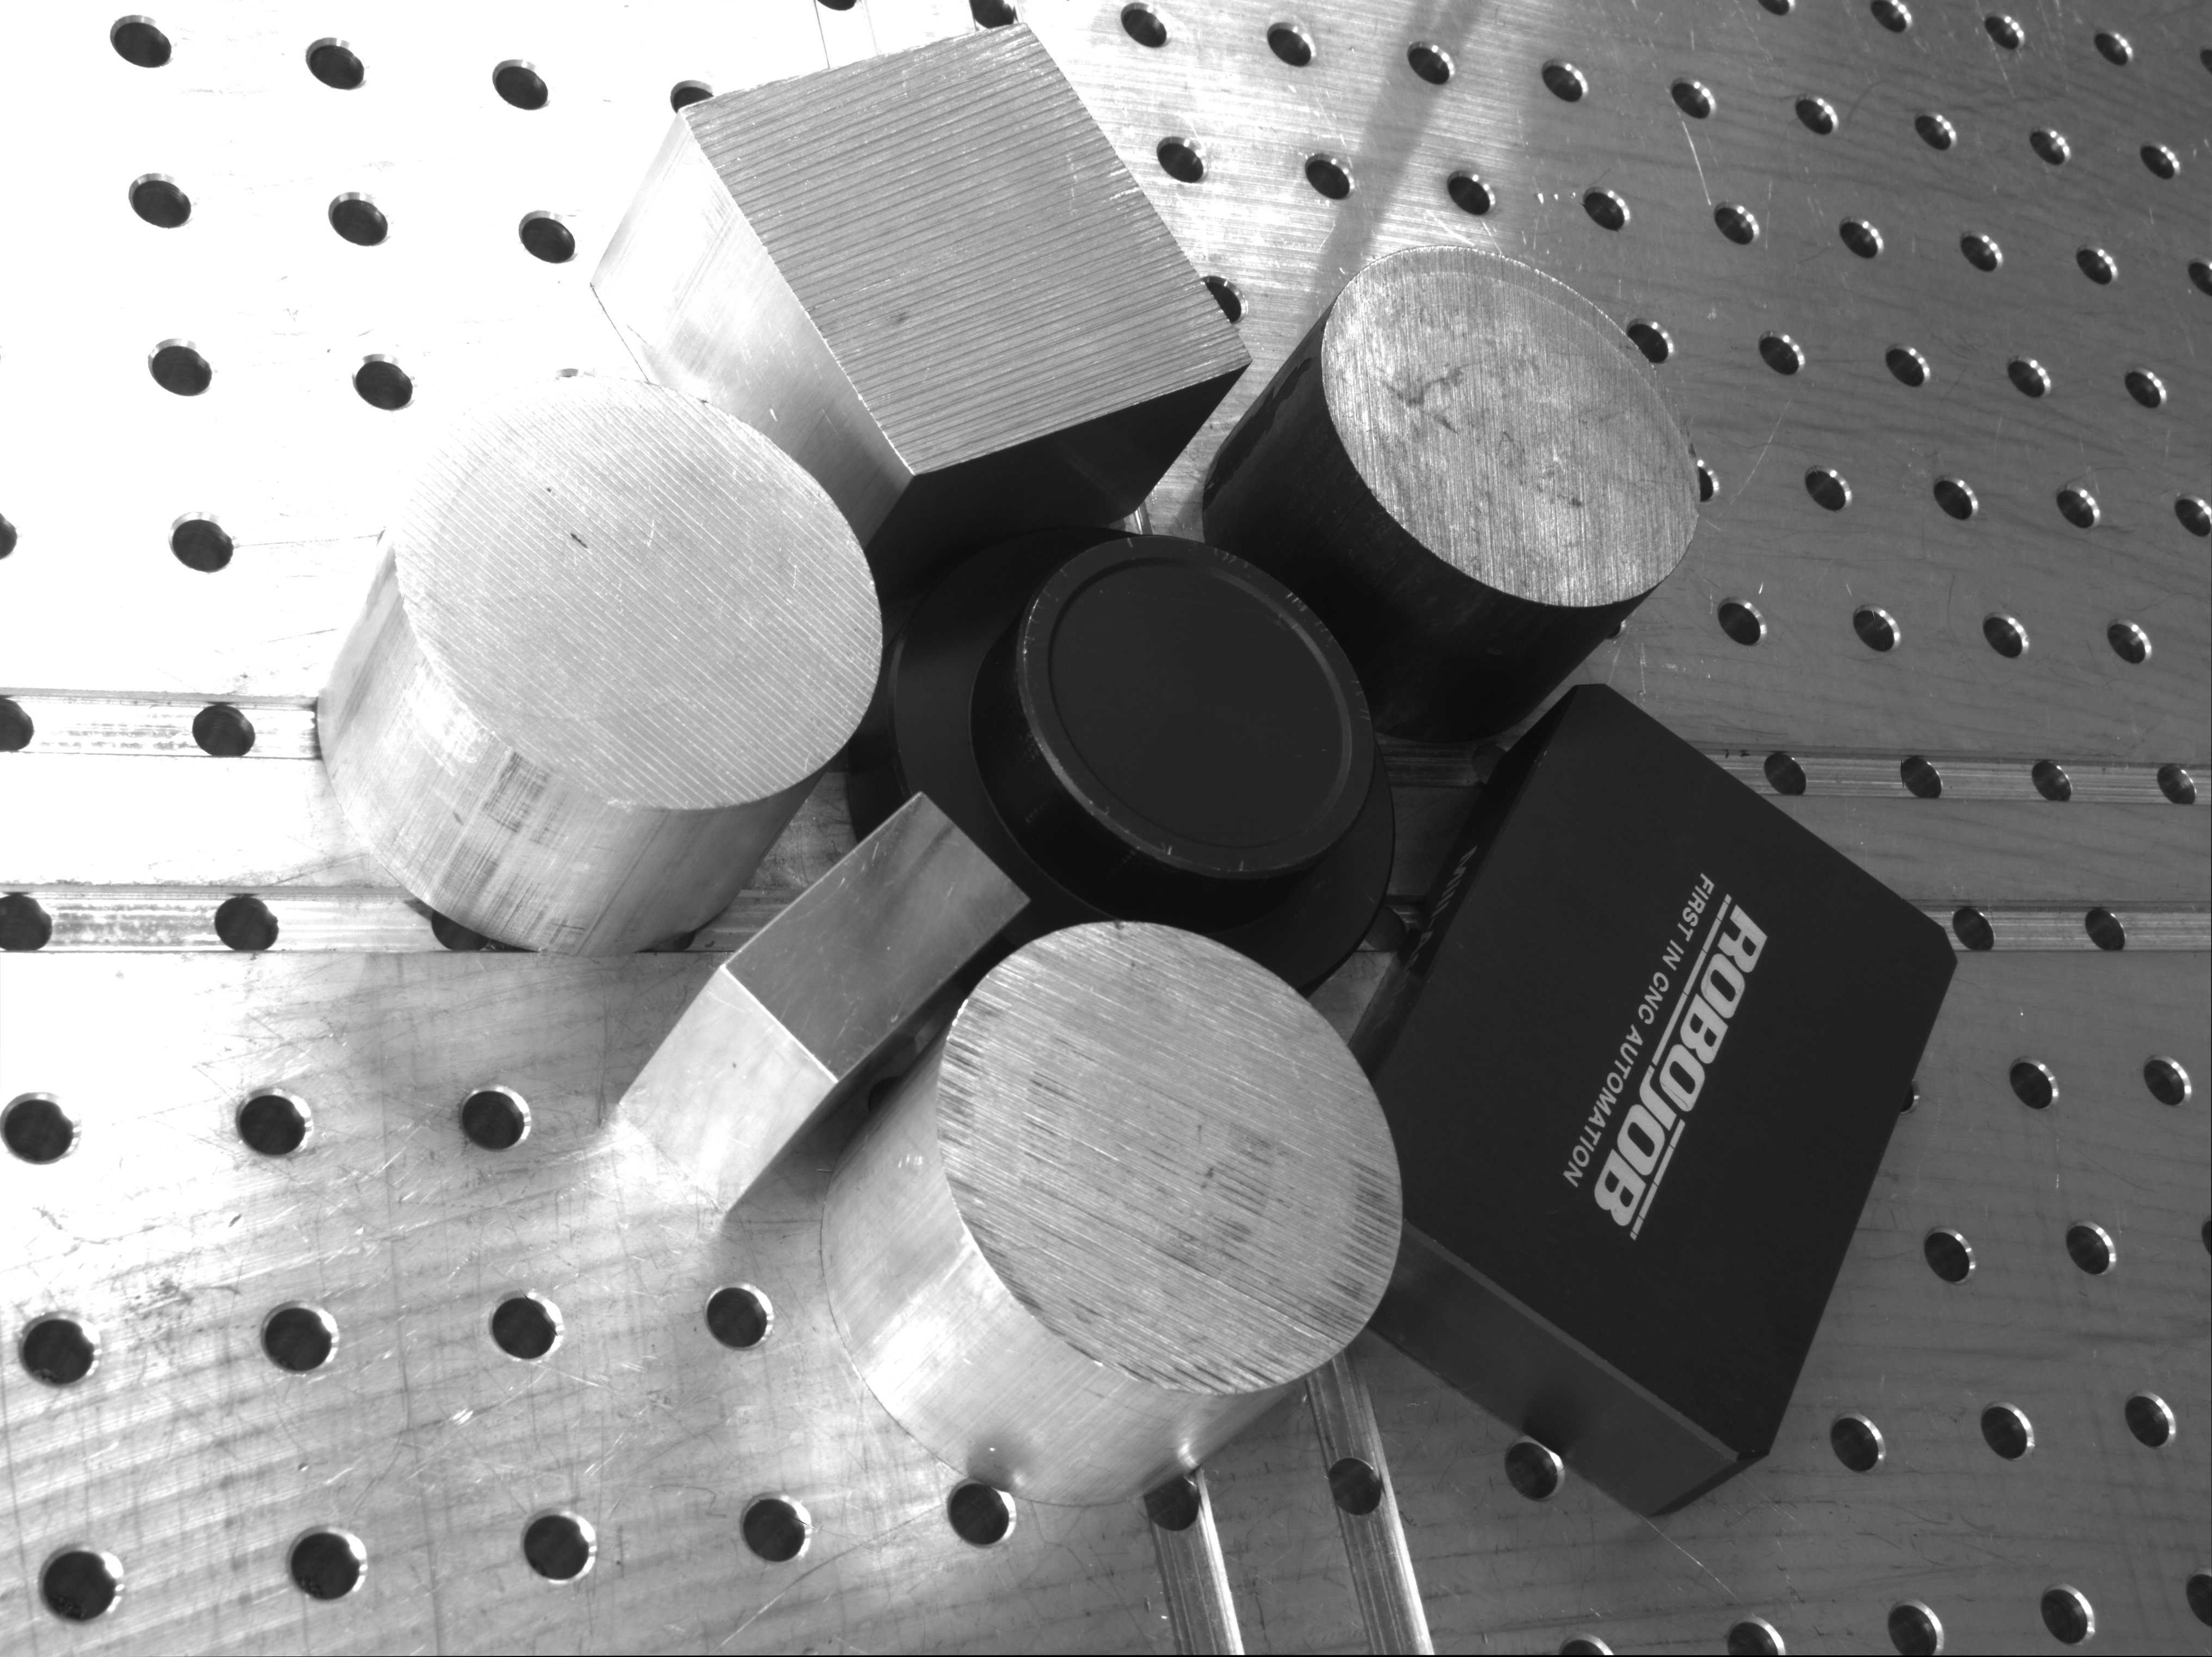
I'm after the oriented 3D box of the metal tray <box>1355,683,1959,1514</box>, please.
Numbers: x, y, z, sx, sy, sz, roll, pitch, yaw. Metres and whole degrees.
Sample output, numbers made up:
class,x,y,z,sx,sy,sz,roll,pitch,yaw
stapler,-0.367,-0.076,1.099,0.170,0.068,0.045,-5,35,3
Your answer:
class,x,y,z,sx,sy,sz,roll,pitch,yaw
metal tray,0.094,0.045,0.660,0.090,0.030,0.130,35,51,-5

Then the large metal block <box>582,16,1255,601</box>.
class,x,y,z,sx,sy,sz,roll,pitch,yaw
large metal block,-0.034,-0.093,0.664,0.080,0.050,0.080,-23,74,-36

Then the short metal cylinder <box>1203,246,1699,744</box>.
class,x,y,z,sx,sy,sz,roll,pitch,yaw
short metal cylinder,0.065,-0.063,0.699,0.080,0.050,0.080,14,56,-21

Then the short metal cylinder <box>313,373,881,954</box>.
class,x,y,z,sx,sy,sz,roll,pitch,yaw
short metal cylinder,-0.083,-0.027,0.596,0.080,0.050,0.080,14,56,-21

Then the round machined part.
class,x,y,z,sx,sy,sz,roll,pitch,yaw
round machined part,0.008,-0.012,0.641,0.098,0.042,0.098,14,56,-21

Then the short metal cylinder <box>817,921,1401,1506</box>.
class,x,y,z,sx,sy,sz,roll,pitch,yaw
short metal cylinder,0.000,0.062,0.587,0.080,0.050,0.080,14,56,-21

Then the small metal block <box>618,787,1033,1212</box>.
class,x,y,z,sx,sy,sz,roll,pitch,yaw
small metal block,-0.045,0.027,0.584,0.025,0.050,0.050,44,51,3
